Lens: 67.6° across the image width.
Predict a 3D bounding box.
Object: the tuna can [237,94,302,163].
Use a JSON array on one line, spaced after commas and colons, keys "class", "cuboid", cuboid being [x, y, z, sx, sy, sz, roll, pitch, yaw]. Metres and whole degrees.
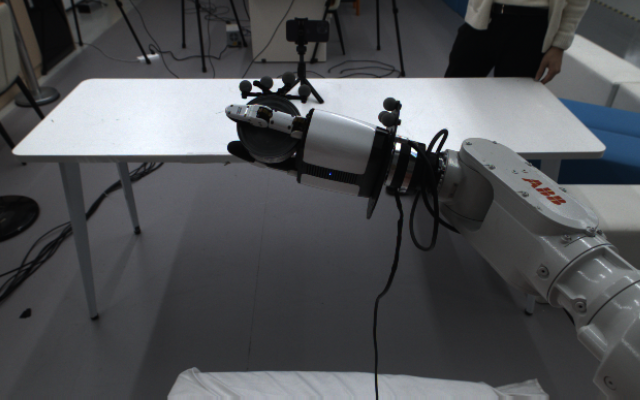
[{"class": "tuna can", "cuboid": [-0.065, -0.095, 0.639, 0.085, 0.034, 0.085, 0, 75, 0]}]
